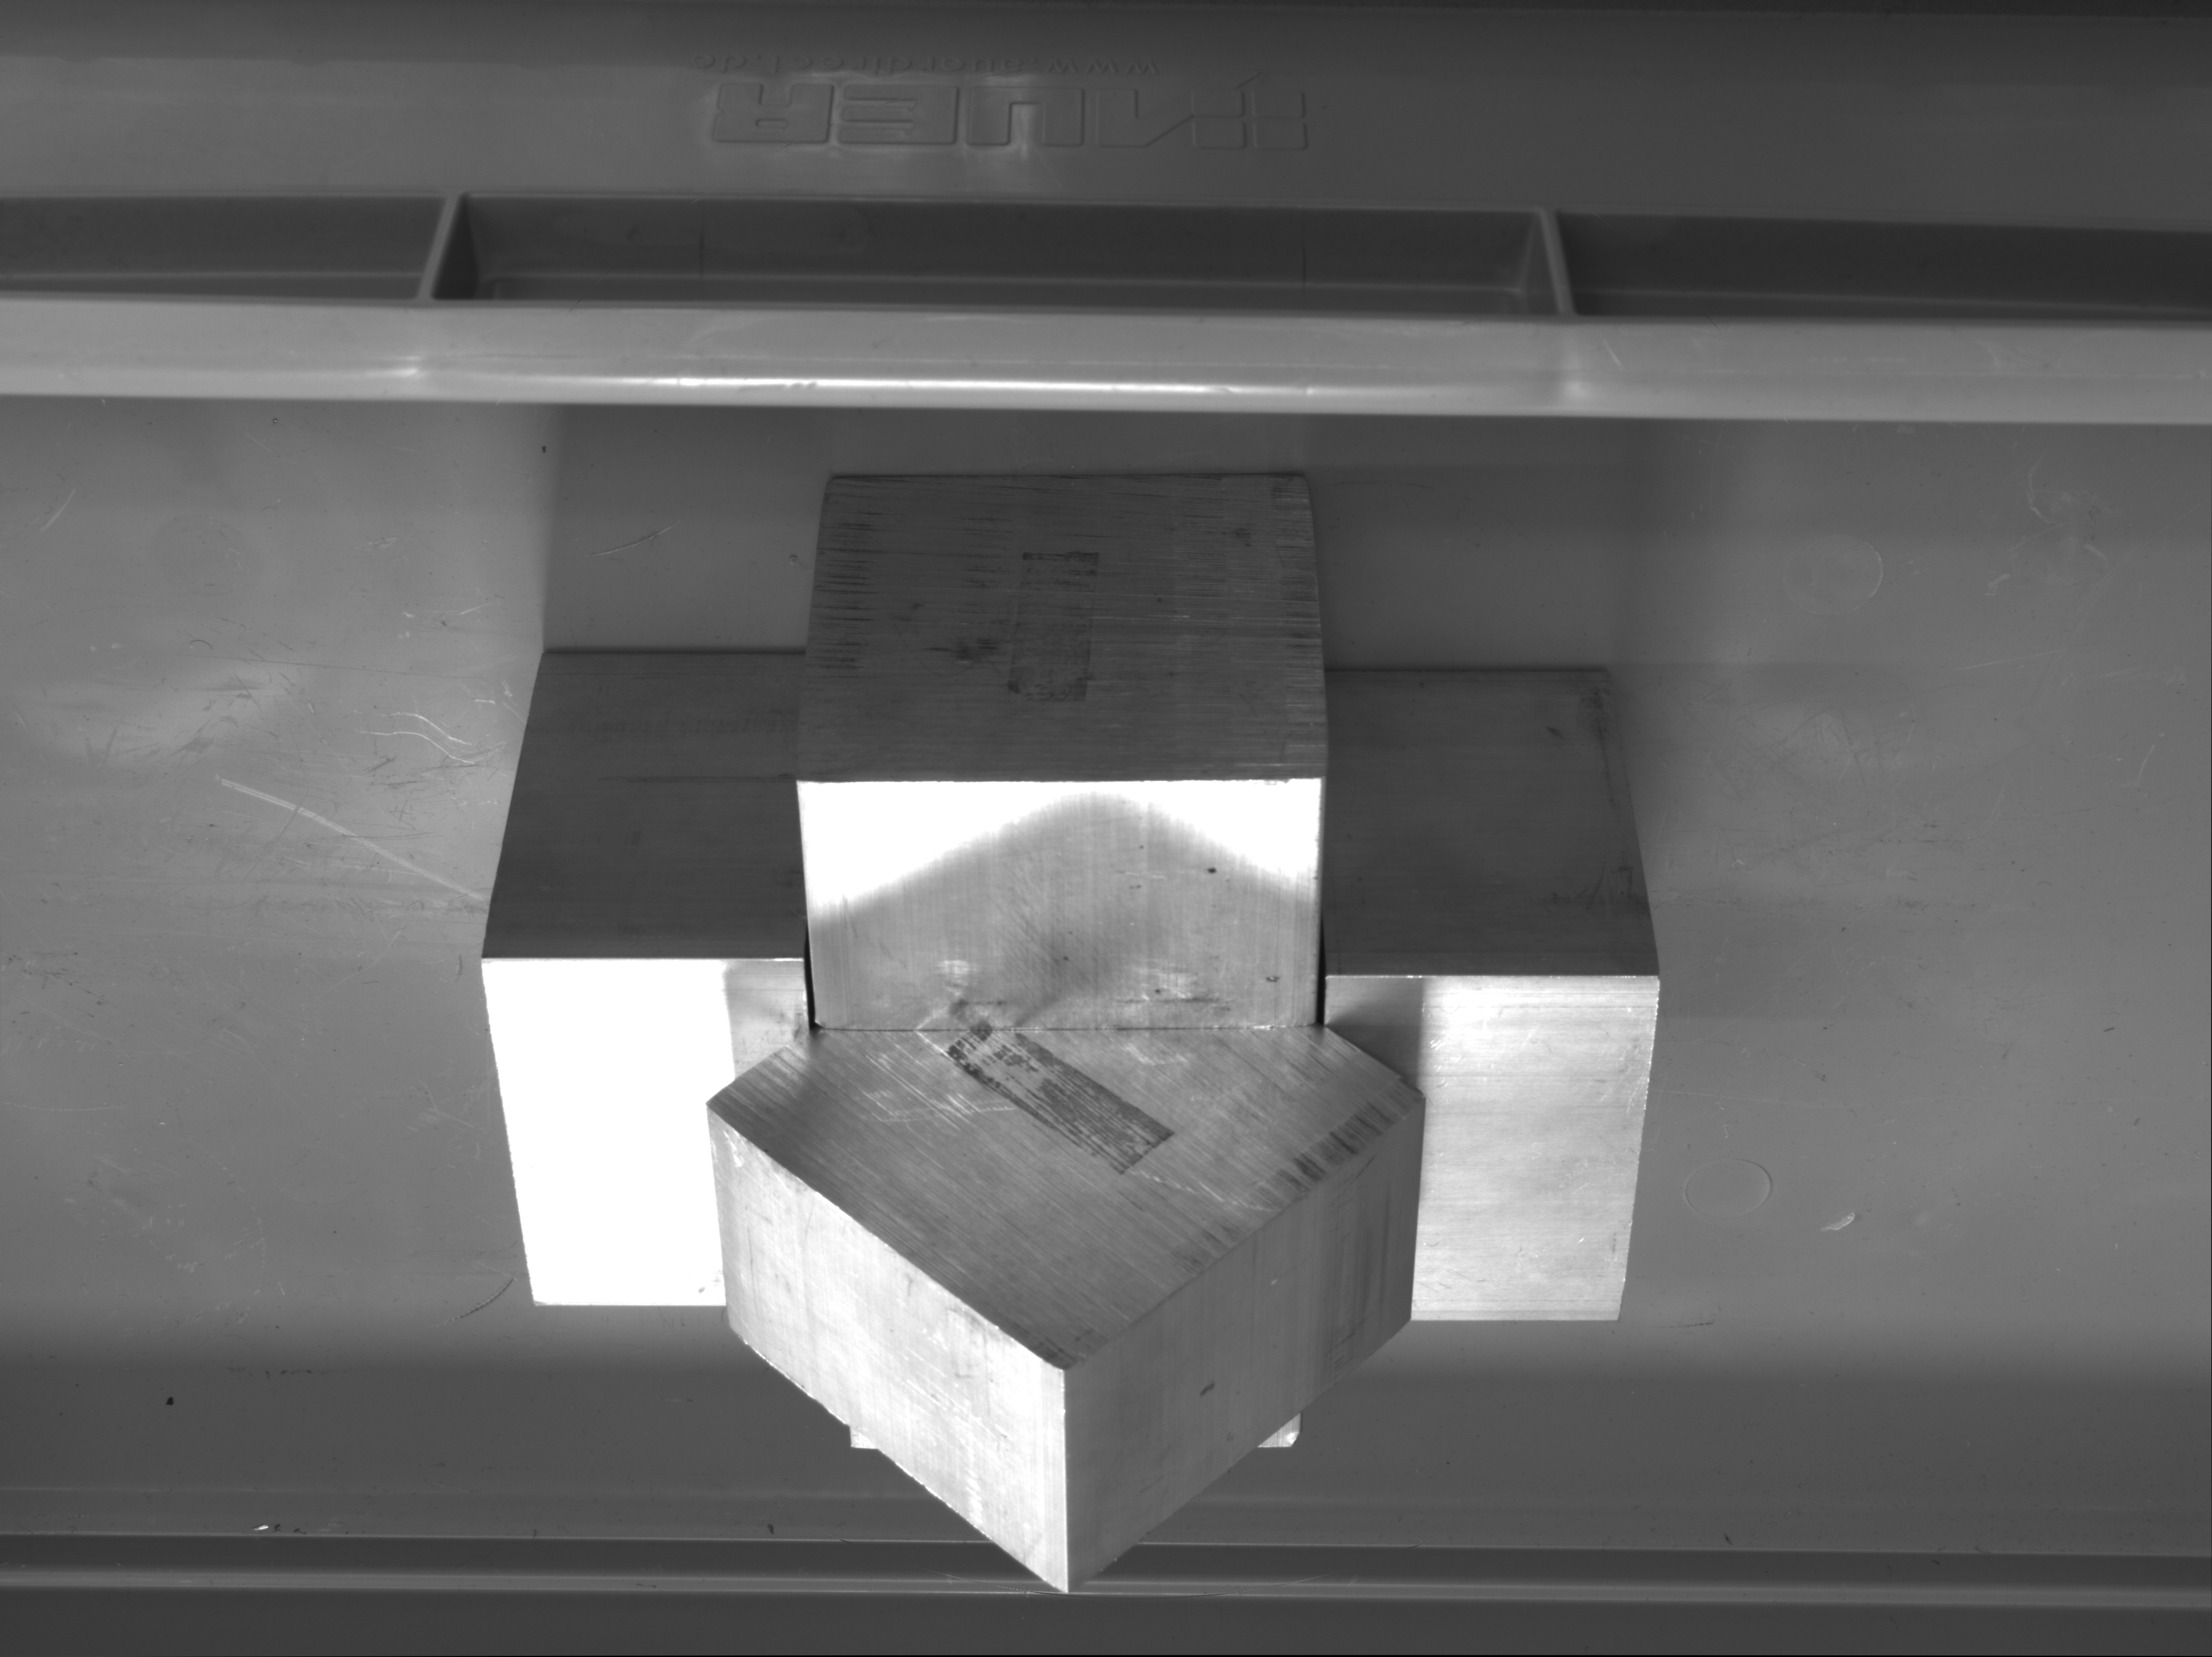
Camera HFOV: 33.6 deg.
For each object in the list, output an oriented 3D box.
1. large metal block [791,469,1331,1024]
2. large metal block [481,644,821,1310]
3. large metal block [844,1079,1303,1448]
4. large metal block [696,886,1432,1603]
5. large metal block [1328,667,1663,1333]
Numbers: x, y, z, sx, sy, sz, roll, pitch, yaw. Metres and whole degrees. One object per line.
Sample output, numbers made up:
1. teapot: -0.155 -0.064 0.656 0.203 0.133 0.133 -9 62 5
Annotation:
1. large metal block: -0.006 -0.014 0.590 0.080 0.080 0.050 0 130 0
2. large metal block: -0.071 0.025 0.623 0.050 0.080 0.080 0 130 0
3. large metal block: -0.006 0.063 0.655 0.080 0.080 0.050 0 130 0
4. large metal block: -0.006 0.061 0.580 0.080 0.080 0.050 -33 140 -33
5. large metal block: 0.061 0.029 0.624 0.050 0.080 0.080 0 130 0
